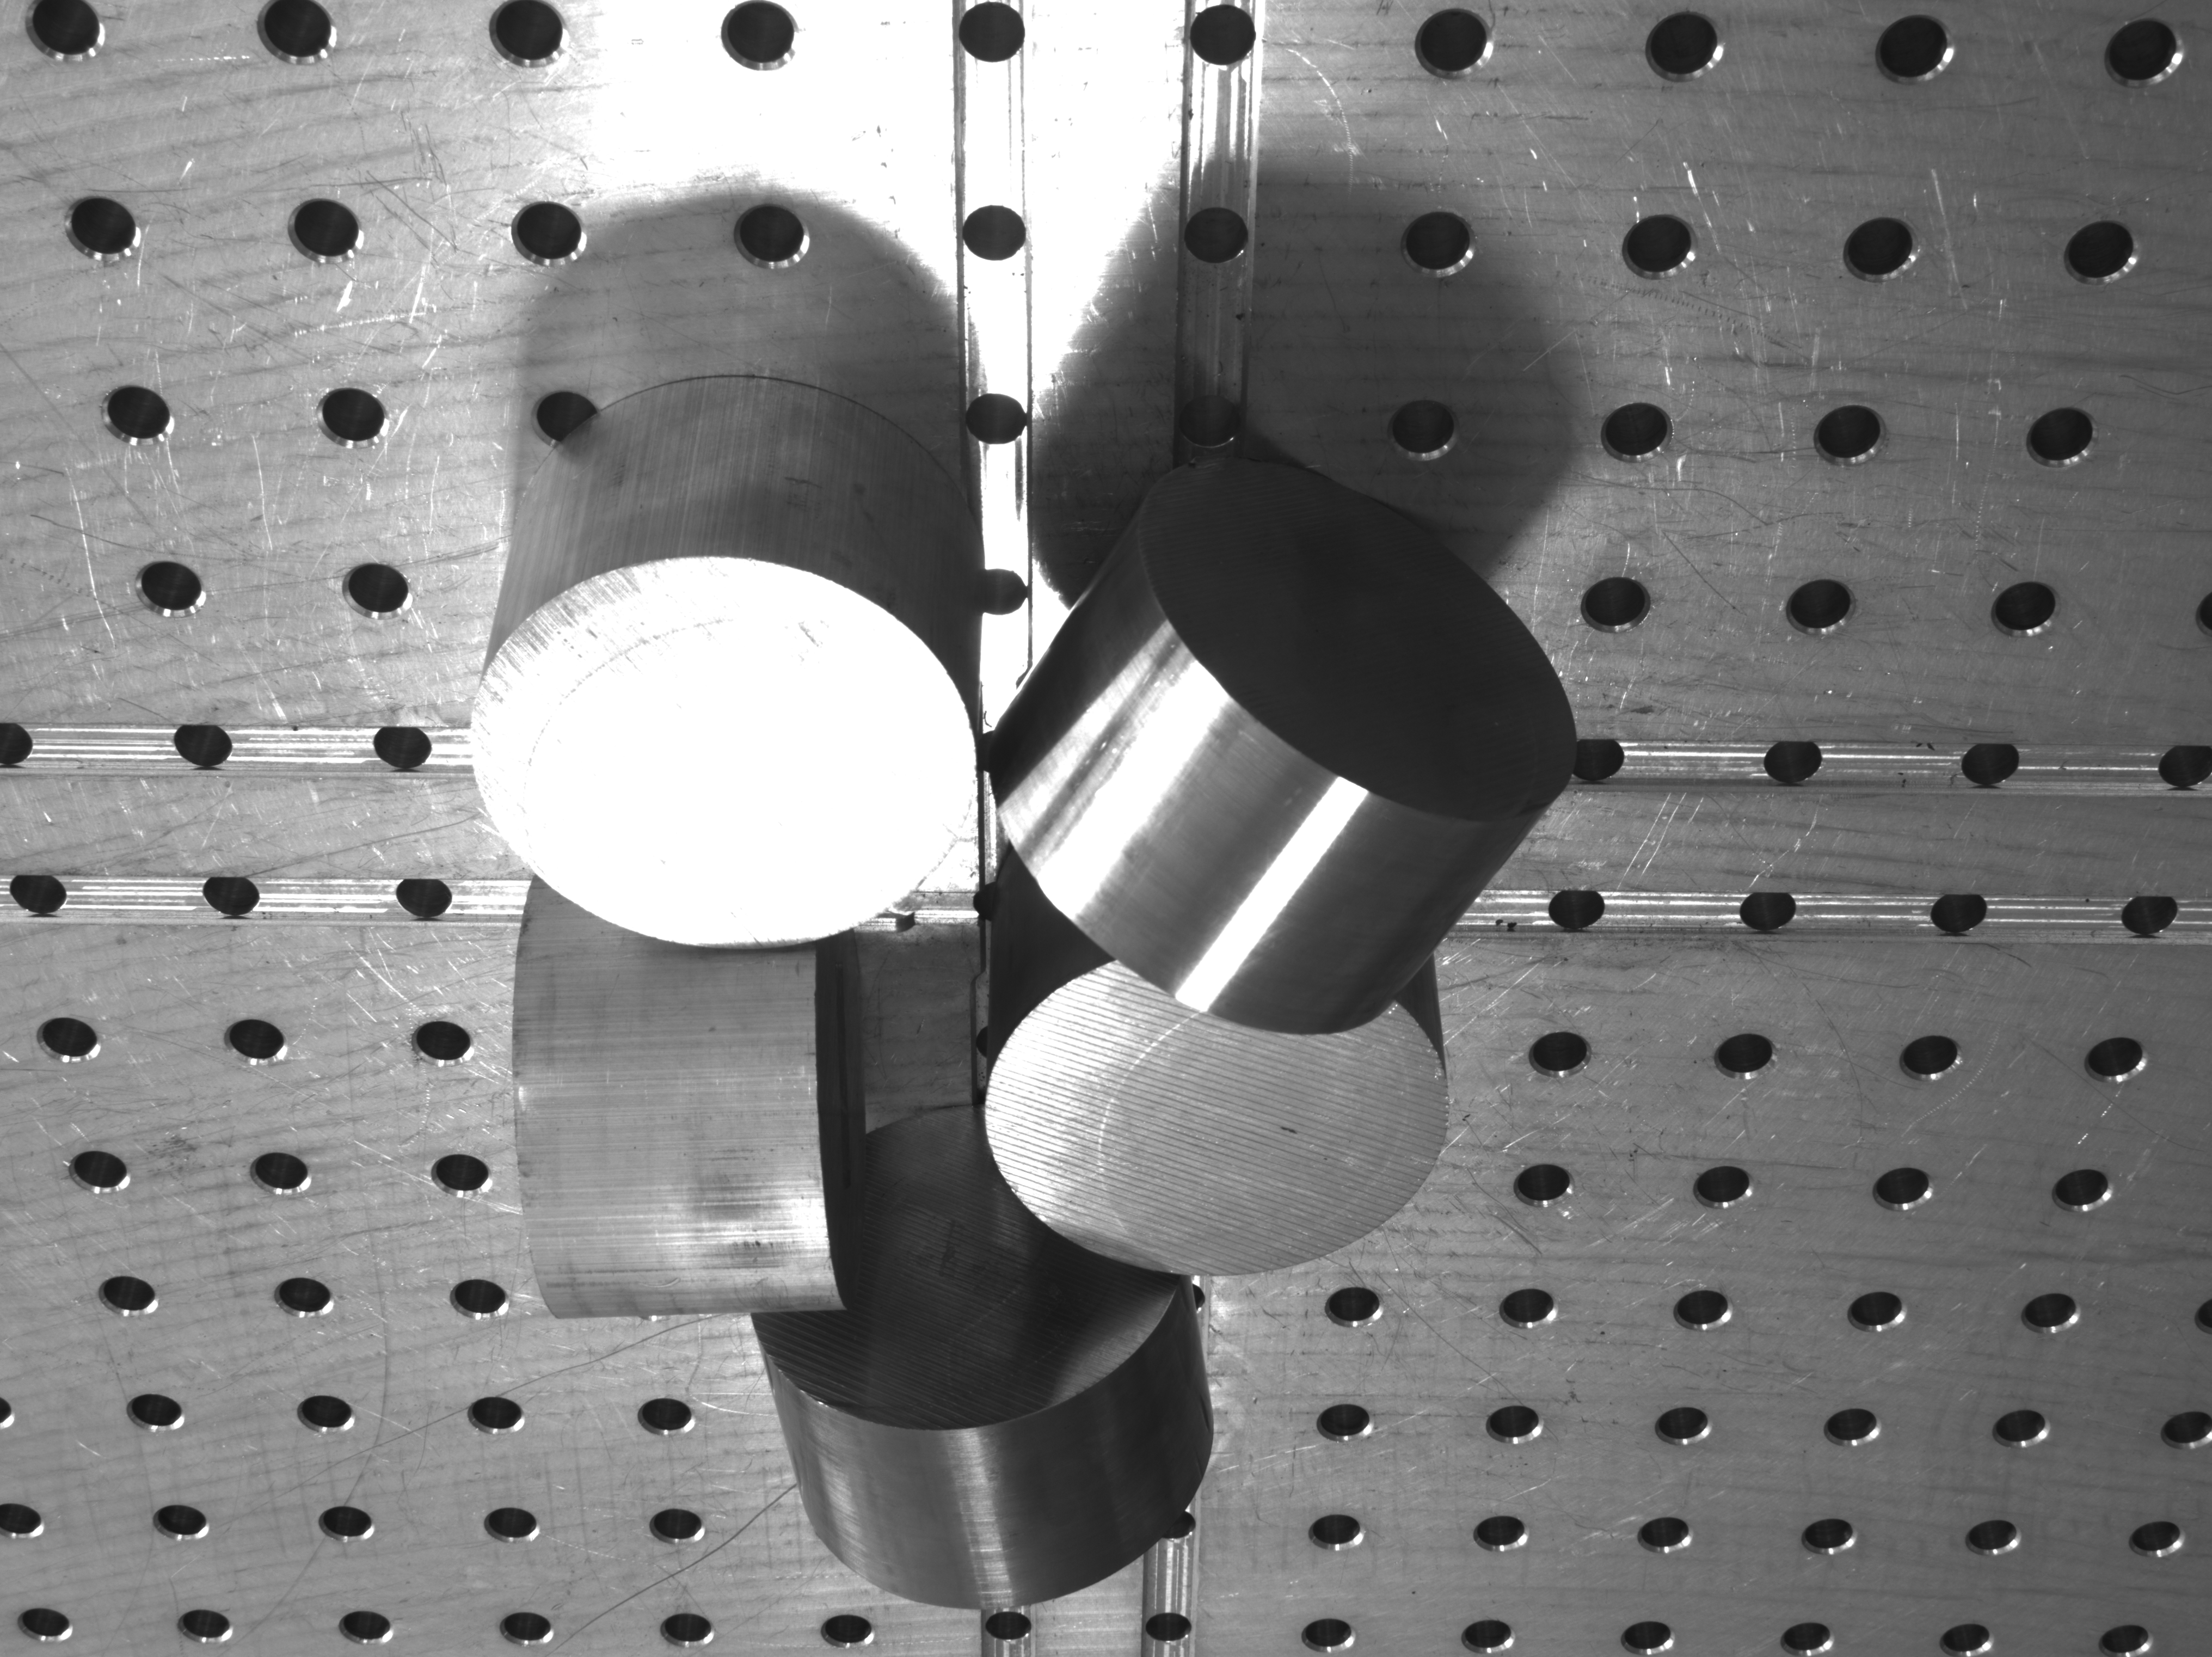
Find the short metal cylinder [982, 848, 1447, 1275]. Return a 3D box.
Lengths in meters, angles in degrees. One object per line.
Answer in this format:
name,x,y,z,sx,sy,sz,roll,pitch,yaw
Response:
short metal cylinder,0.019,0.033,0.654,0.080,0.050,0.080,0,130,0

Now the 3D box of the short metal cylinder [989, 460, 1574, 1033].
short metal cylinder,0.028,-0.014,0.595,0.080,0.080,0.050,23,126,-18

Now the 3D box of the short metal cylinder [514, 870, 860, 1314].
short metal cylinder,-0.071,0.044,0.644,0.050,0.080,0.080,-2,130,1

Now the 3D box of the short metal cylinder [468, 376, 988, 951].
short metal cylinder,-0.060,-0.026,0.603,0.080,0.050,0.080,1,130,1

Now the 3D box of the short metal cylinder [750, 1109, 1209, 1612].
short metal cylinder,-0.023,0.098,0.688,0.080,0.080,0.050,-5,130,4
